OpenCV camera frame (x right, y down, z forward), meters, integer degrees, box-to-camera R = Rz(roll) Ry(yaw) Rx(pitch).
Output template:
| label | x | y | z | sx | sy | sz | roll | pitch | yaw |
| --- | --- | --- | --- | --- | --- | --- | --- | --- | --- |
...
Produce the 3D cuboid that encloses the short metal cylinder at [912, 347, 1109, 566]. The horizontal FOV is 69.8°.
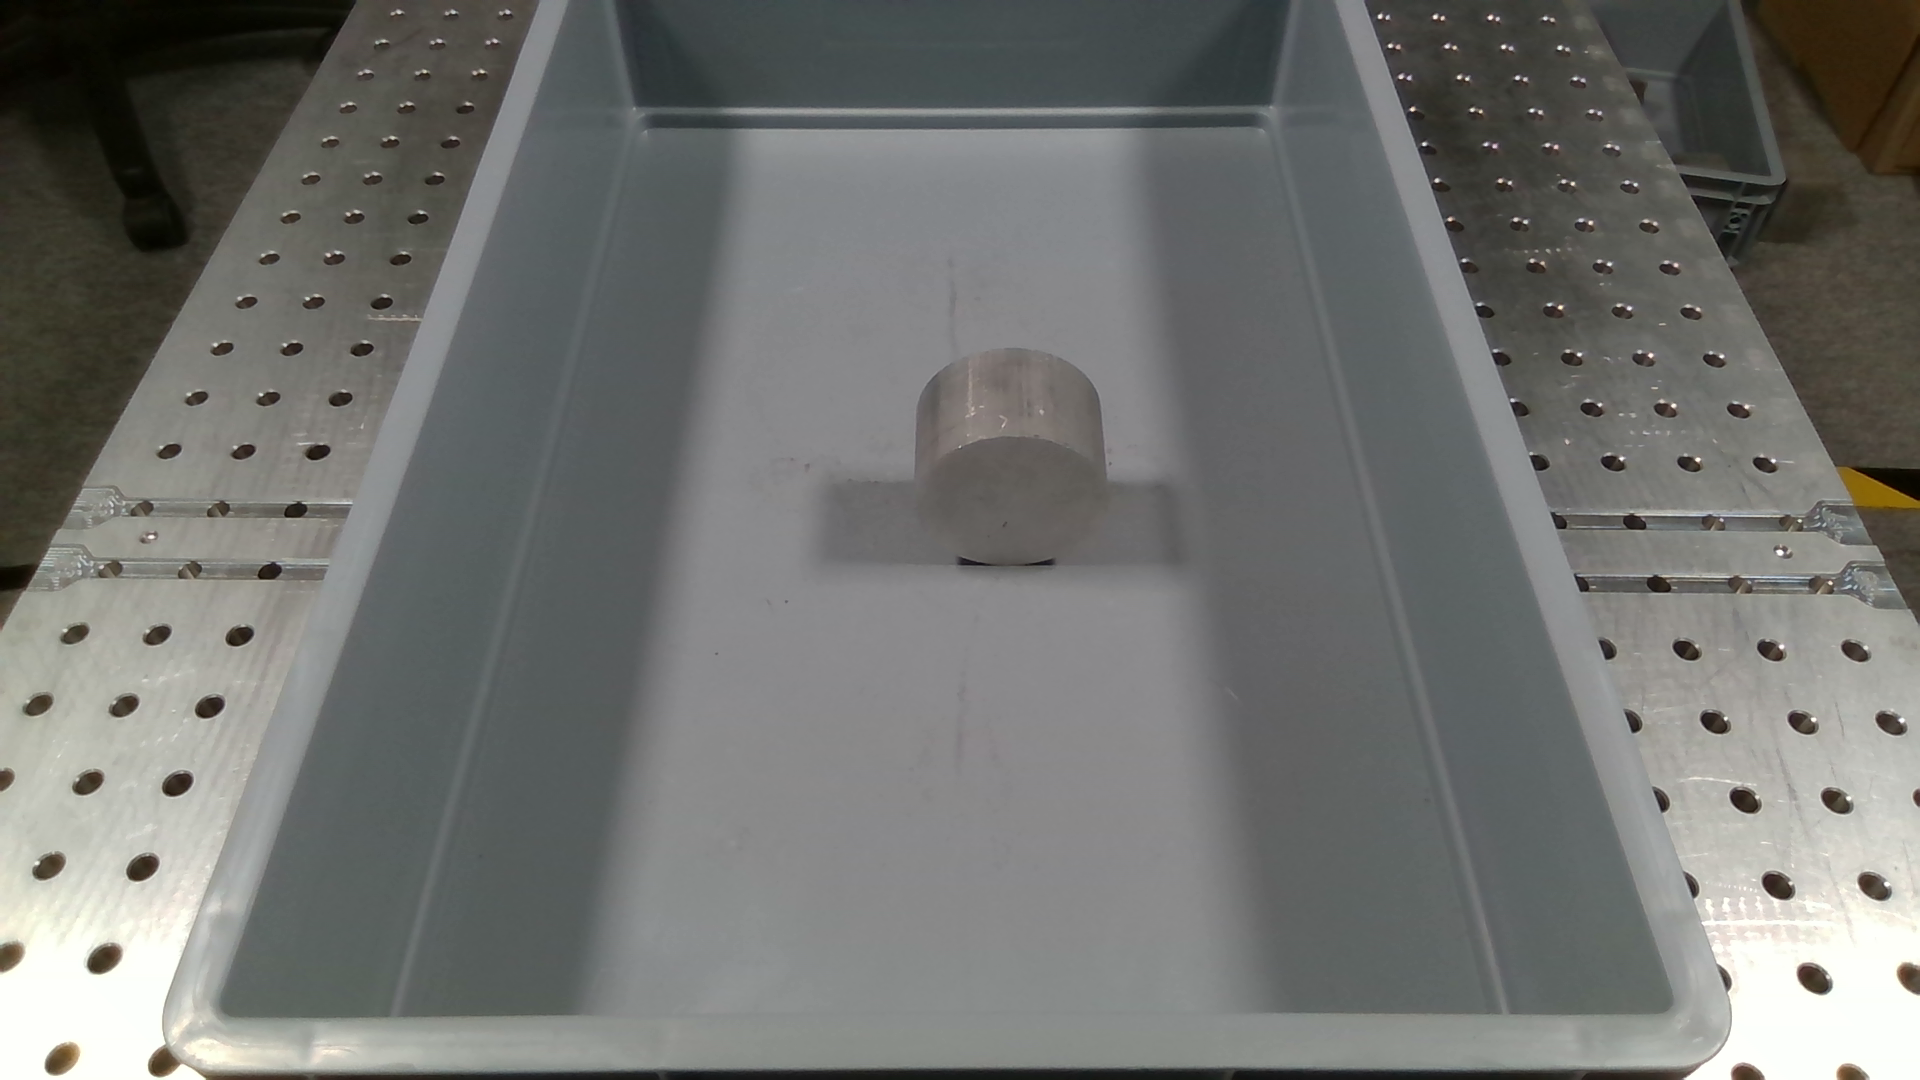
| label | x | y | z | sx | sy | sz | roll | pitch | yaw |
| --- | --- | --- | --- | --- | --- | --- | --- | --- | --- |
| short metal cylinder | 0.020 | -0.034 | 0.577 | 0.080 | 0.080 | 0.050 | 0 | 50 | 0 |
